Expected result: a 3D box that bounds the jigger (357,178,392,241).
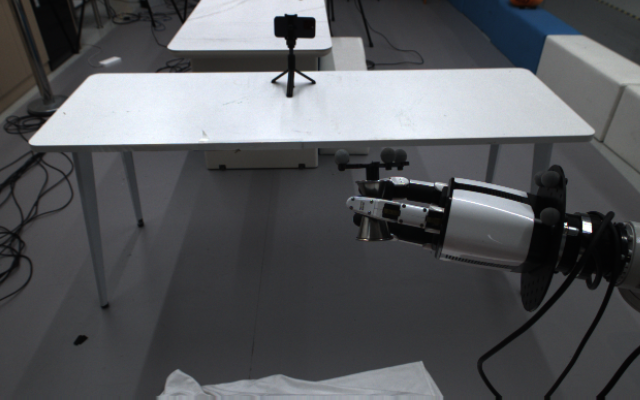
[{"bbox_3d":[0.061,0.012,0.560,0.043,0.071,0.043,-2,3,0],"label":"jigger"}]
